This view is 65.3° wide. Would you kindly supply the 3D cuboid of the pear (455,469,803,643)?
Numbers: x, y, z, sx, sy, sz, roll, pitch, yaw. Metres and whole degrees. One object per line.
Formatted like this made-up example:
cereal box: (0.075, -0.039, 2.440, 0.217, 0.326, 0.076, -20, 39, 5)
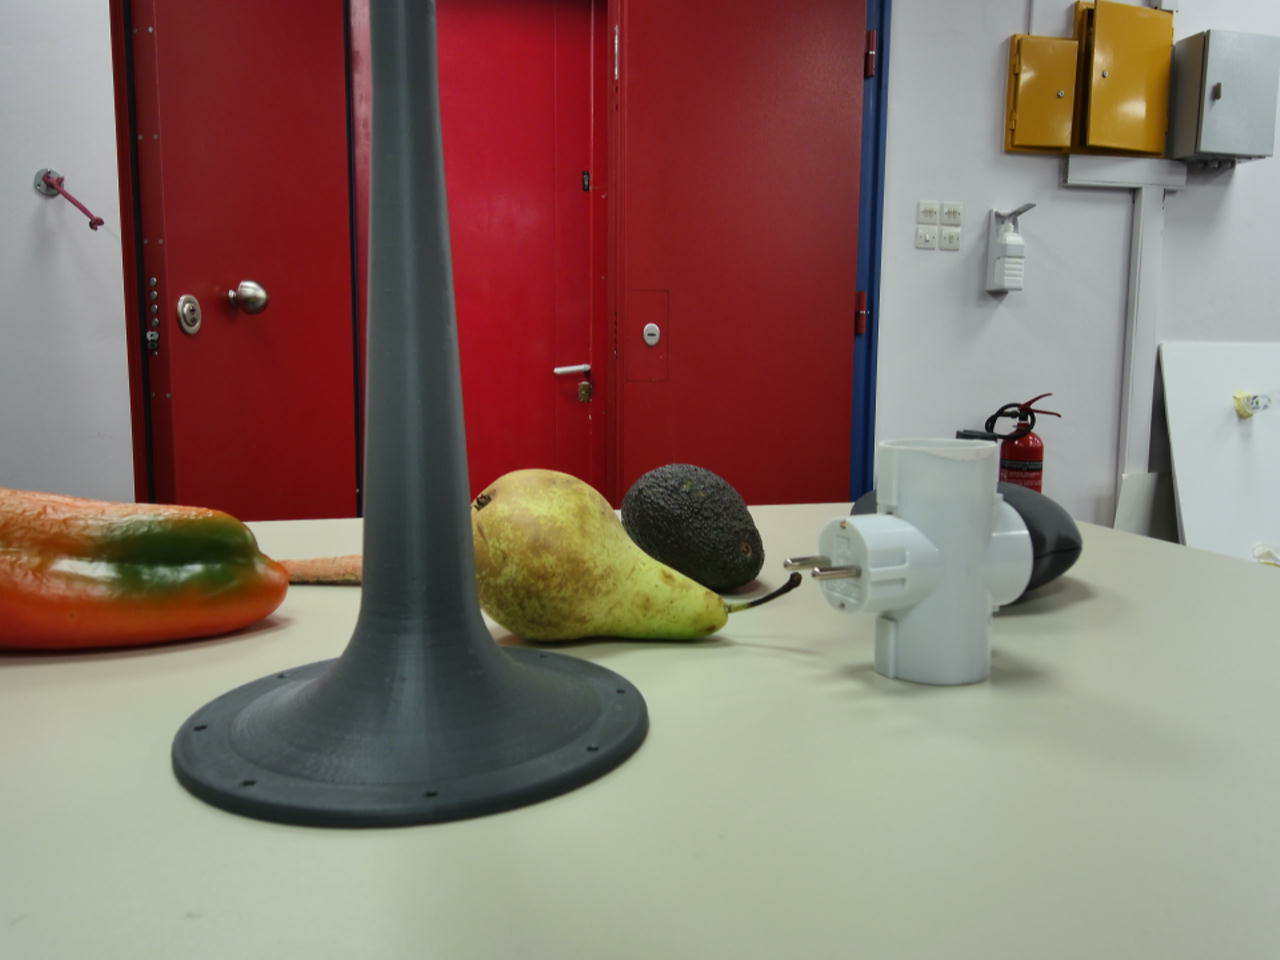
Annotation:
pear: (-0.008, 0.032, 0.440, 0.144, 0.075, 0.071, -1, 4, -6)
